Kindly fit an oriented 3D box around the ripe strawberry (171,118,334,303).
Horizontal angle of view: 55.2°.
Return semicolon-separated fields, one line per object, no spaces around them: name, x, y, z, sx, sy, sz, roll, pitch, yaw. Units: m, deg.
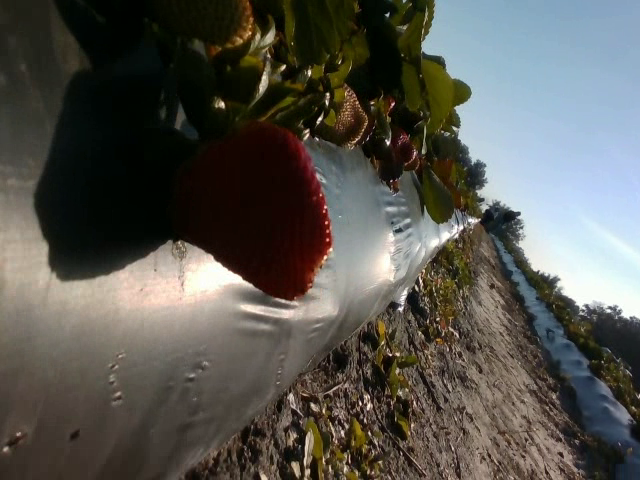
ripe strawberry;-0.021;-0.006;0.160;0.042;0.059;0.042;-24;-21;1
